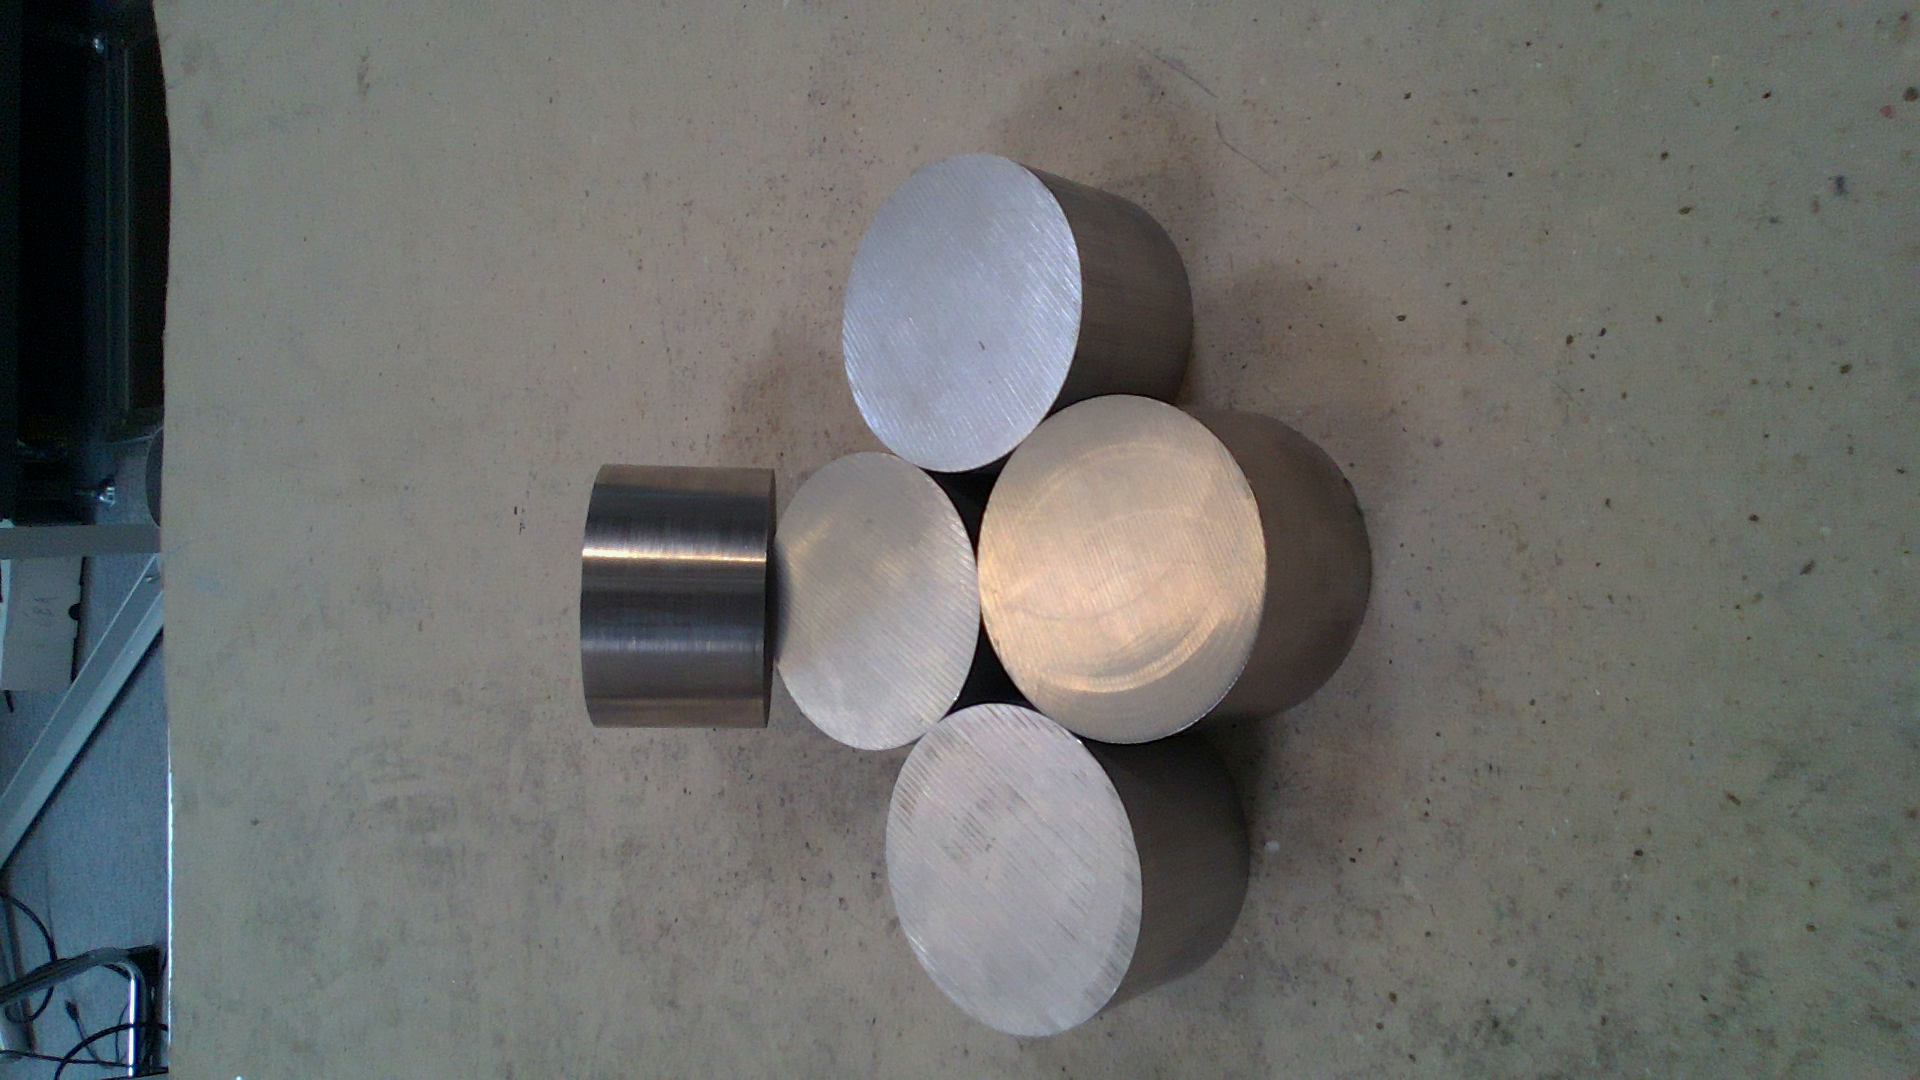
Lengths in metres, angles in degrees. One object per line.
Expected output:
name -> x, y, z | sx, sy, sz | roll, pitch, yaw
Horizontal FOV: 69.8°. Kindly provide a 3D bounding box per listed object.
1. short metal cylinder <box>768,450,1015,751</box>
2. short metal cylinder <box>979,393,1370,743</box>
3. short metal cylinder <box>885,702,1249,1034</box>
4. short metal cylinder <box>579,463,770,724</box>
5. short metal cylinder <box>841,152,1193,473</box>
short metal cylinder -> -0.009, 0.016, 0.387 | 0.080, 0.050, 0.080 | 0, 90, 40
short metal cylinder -> 0.051, 0.006, 0.335 | 0.080, 0.050, 0.080 | 0, 90, 40
short metal cylinder -> 0.027, 0.080, 0.356 | 0.080, 0.050, 0.080 | 0, 90, 40
short metal cylinder -> -0.084, 0.017, 0.423 | 0.080, 0.050, 0.080 | -179, 90, -85
short metal cylinder -> 0.014, -0.057, 0.366 | 0.080, 0.050, 0.080 | 0, 90, 40
